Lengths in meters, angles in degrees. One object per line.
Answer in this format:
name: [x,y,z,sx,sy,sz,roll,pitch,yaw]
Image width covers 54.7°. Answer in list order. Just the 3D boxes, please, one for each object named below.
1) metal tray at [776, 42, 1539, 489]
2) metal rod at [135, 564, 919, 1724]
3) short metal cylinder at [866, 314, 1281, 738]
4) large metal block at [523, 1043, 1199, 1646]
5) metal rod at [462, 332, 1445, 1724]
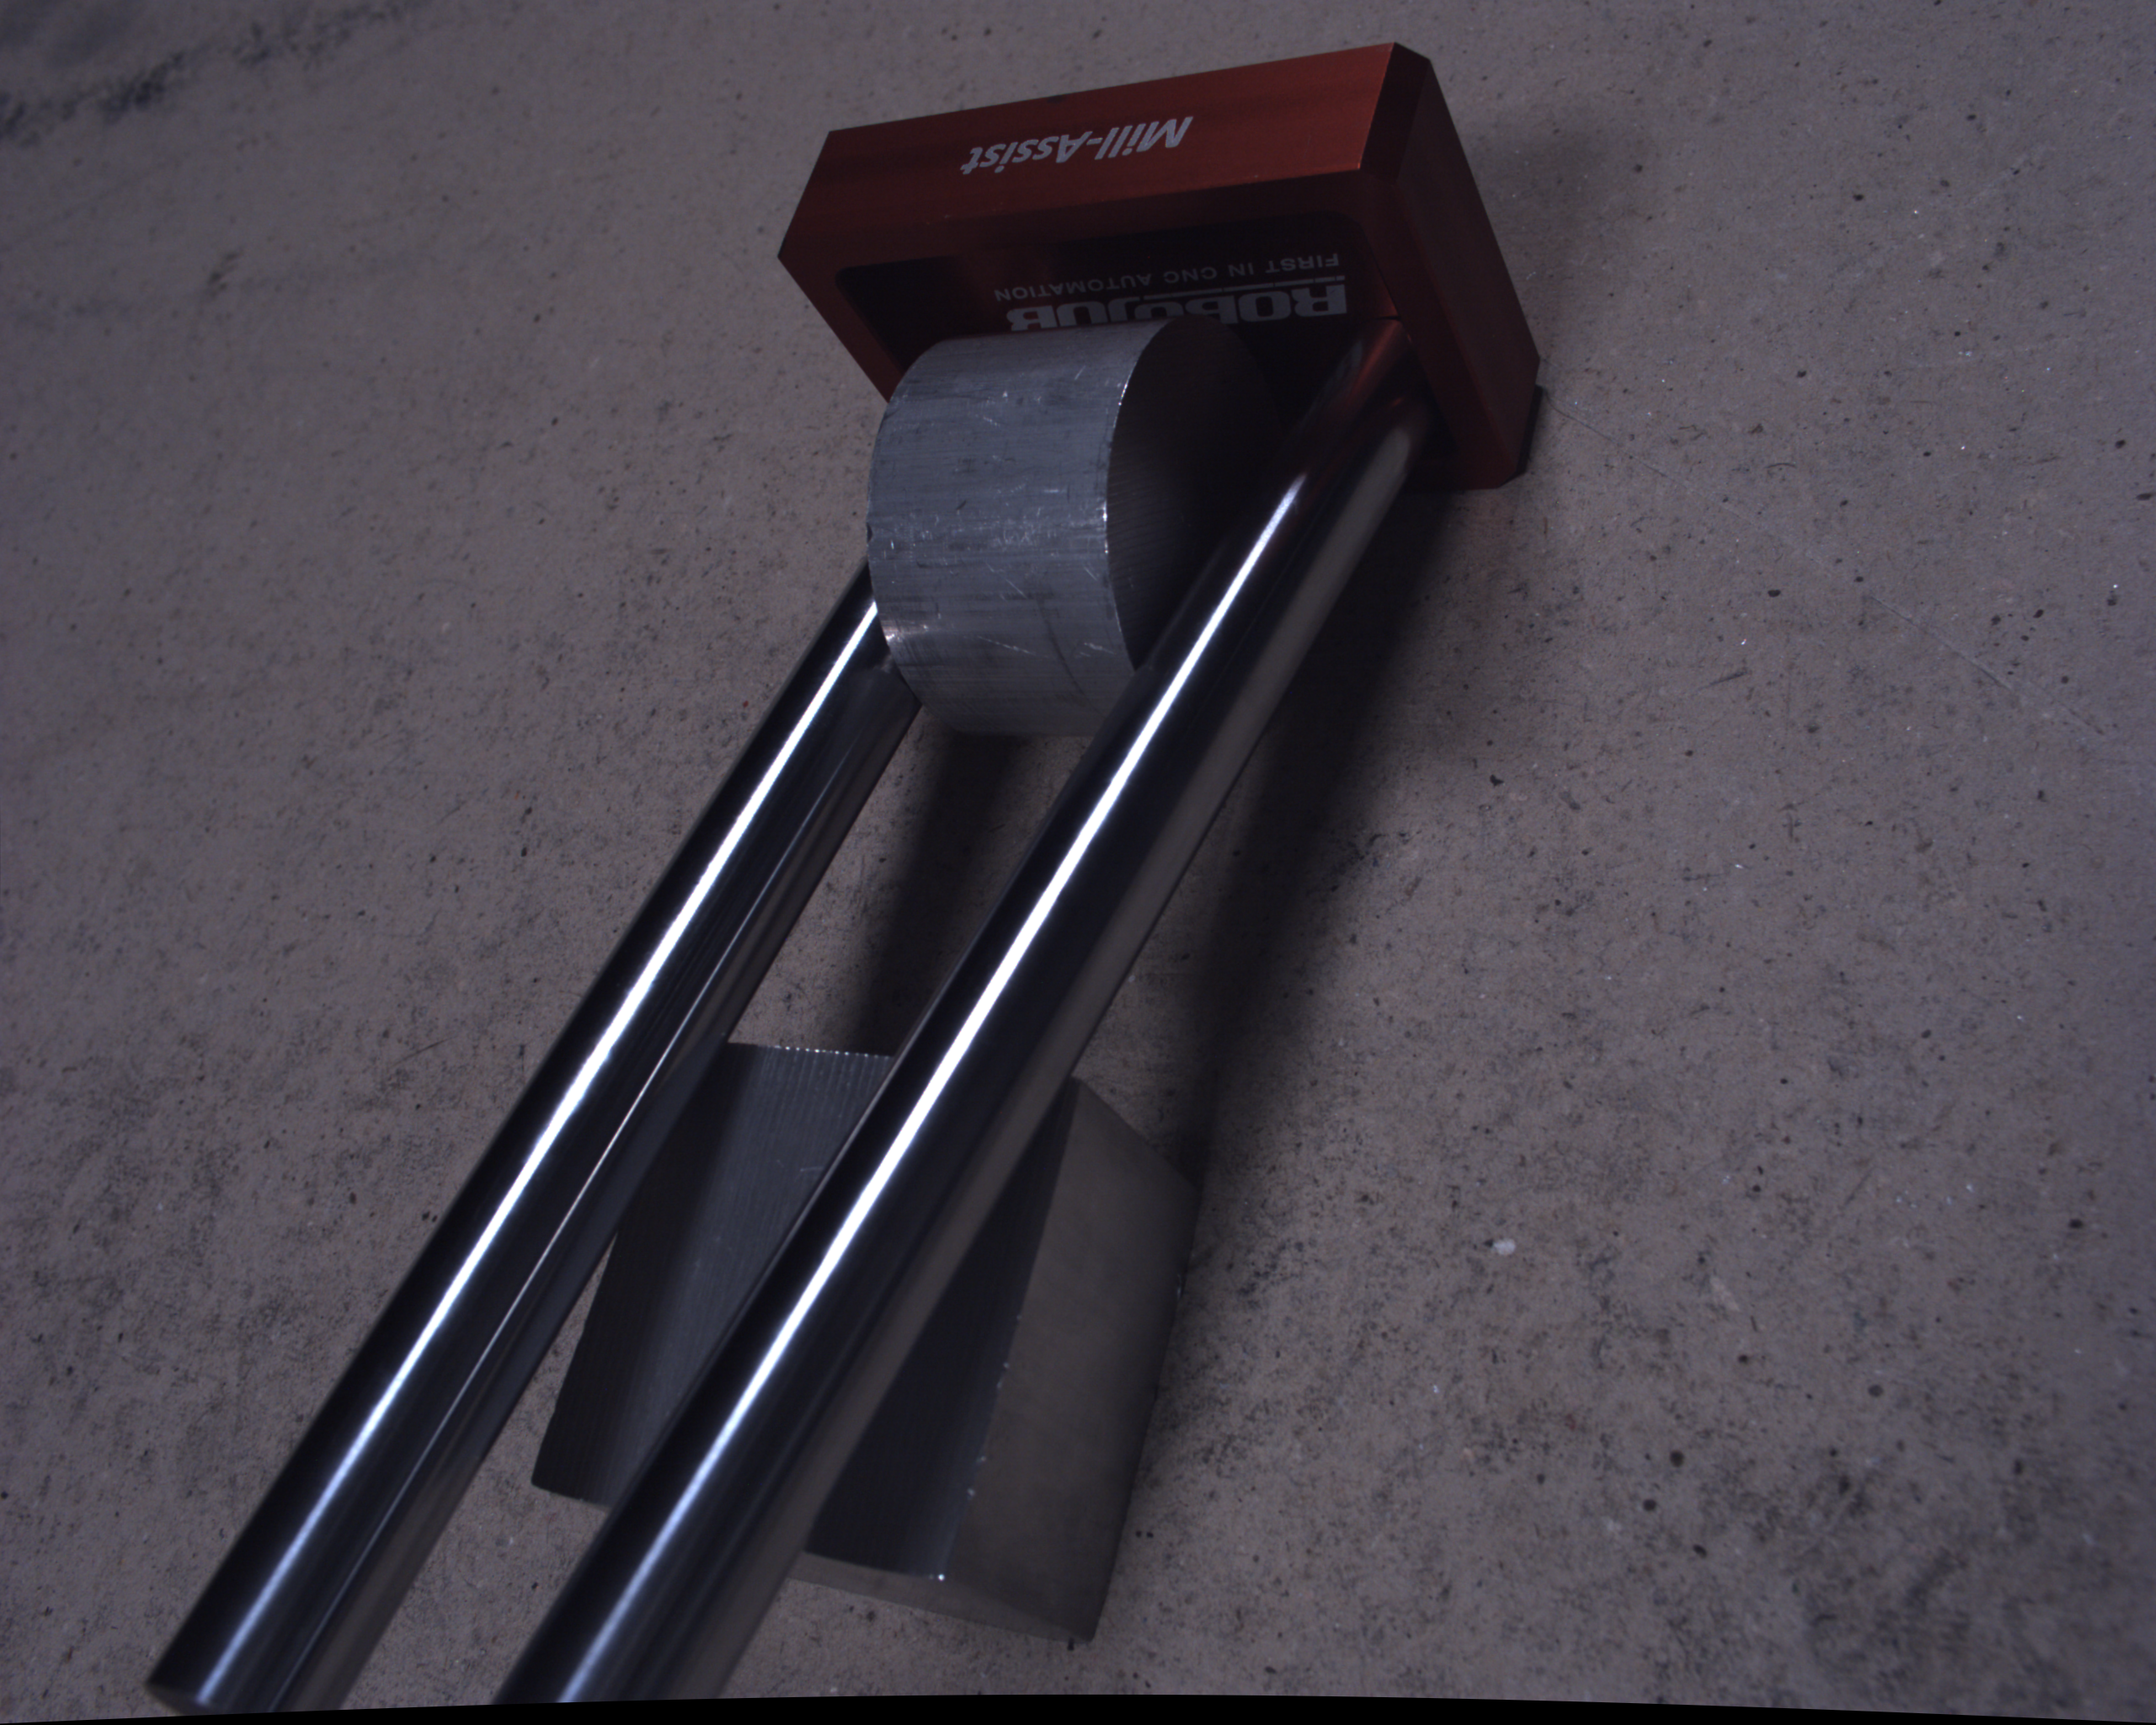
metal tray: [0.017,-0.112,0.422,0.130,0.090,0.030,2,63,29]
metal rod: [-0.064,0.009,0.373,0.025,0.025,0.301,2,47,29]
short metal cylinder: [0.002,-0.064,0.408,0.050,0.080,0.080,2,63,28]
large metal block: [-0.034,0.079,0.355,0.080,0.050,0.080,2,63,28]
metal rod: [-0.002,0.011,0.339,0.025,0.025,0.301,9,51,32]
